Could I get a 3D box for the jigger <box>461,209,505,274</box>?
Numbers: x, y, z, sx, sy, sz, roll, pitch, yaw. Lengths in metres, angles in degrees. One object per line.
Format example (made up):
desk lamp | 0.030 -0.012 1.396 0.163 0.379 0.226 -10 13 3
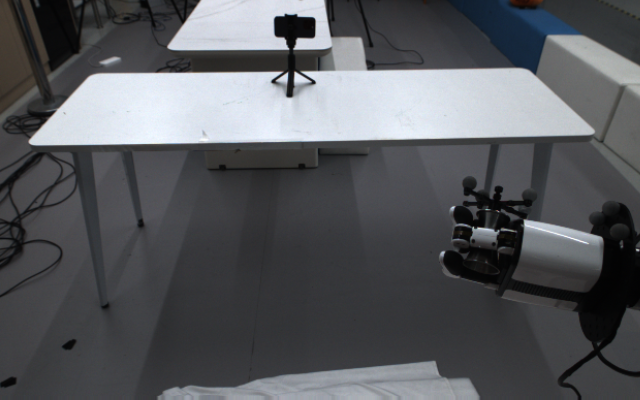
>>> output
jigger | 0.204 0.049 0.581 0.043 0.043 0.071 13 69 15
